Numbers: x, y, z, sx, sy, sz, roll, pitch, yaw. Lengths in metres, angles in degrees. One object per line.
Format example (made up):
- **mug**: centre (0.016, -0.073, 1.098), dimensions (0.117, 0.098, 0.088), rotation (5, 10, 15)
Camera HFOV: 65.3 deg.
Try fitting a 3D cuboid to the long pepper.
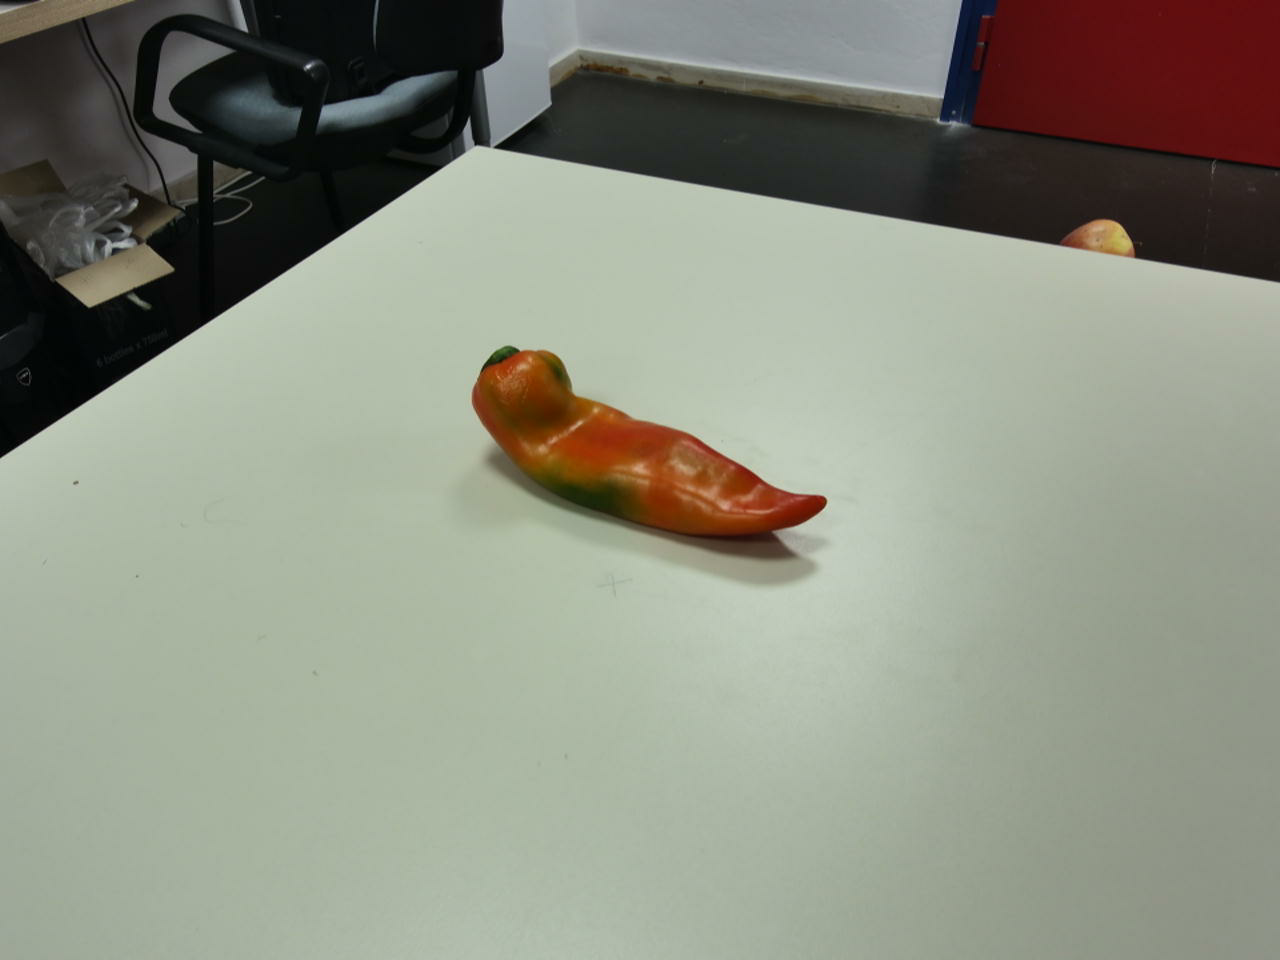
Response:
- **long pepper**: centre (0.000, -0.019, 0.517), dimensions (0.199, 0.065, 0.066), rotation (20, 43, 24)
